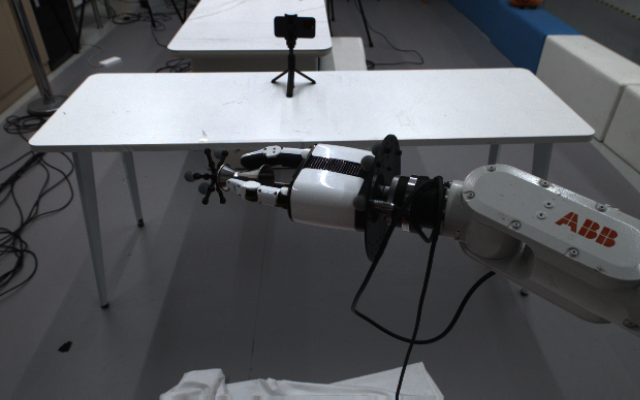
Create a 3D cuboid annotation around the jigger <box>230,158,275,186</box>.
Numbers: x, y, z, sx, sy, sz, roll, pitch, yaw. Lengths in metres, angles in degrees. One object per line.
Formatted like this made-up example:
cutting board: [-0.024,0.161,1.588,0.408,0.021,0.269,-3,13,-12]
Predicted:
jigger: [-0.098,-0.036,0.670,0.071,0.043,0.043,3,33,25]
